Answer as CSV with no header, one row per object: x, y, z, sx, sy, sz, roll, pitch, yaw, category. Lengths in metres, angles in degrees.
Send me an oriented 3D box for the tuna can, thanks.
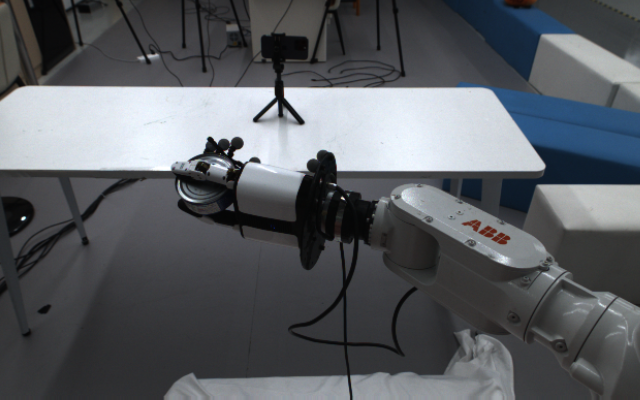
-0.157,-0.024,0.680,0.085,0.034,0.085,-4,56,6,tuna can
